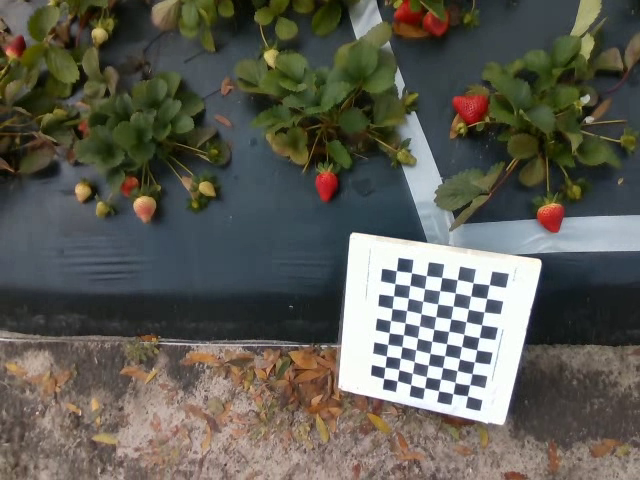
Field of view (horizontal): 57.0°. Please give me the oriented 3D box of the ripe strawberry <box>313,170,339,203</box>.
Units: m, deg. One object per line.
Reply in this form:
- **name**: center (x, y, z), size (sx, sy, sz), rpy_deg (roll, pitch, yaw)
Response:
- **ripe strawberry**: center (0.011, -0.078, 0.824), size (0.036, 0.046, 0.040), rpy_deg (-2, -25, 27)

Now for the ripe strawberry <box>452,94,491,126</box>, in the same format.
- **ripe strawberry**: center (0.210, -0.188, 0.822), size (0.062, 0.043, 0.043), rpy_deg (30, 32, 11)

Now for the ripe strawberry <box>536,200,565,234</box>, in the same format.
- **ripe strawberry**: center (0.314, -0.032, 0.794), size (0.039, 0.046, 0.041), rpy_deg (-25, 5, 32)
